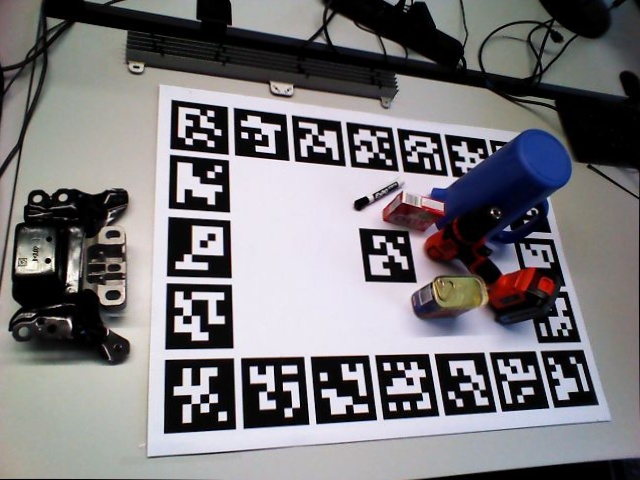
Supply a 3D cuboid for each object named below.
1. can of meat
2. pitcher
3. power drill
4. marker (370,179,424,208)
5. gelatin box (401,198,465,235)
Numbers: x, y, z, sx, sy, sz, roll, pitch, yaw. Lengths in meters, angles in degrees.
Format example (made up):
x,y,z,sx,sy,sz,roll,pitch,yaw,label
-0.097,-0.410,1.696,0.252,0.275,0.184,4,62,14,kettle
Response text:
x,y,z,sx,sy,sz,roll,pitch,yaw,label
0.243,0.110,0.882,0.101,0.084,0.057,3,67,-19,can of meat
0.366,-0.063,0.916,0.189,0.244,0.132,31,65,1,pitcher
0.319,0.038,0.885,0.187,0.186,0.057,39,64,-9,power drill
0.142,-0.086,0.961,0.120,0.020,0.019,-24,80,-25,marker
0.204,-0.040,0.938,0.089,0.074,0.030,15,69,-16,gelatin box
